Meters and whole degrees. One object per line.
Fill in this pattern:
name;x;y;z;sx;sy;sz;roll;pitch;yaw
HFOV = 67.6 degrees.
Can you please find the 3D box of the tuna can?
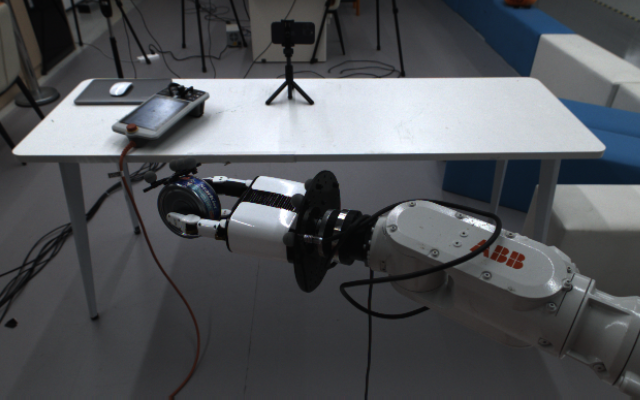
tuna can;-0.181;0.016;0.678;0.085;0.085;0.034;14;31;17
